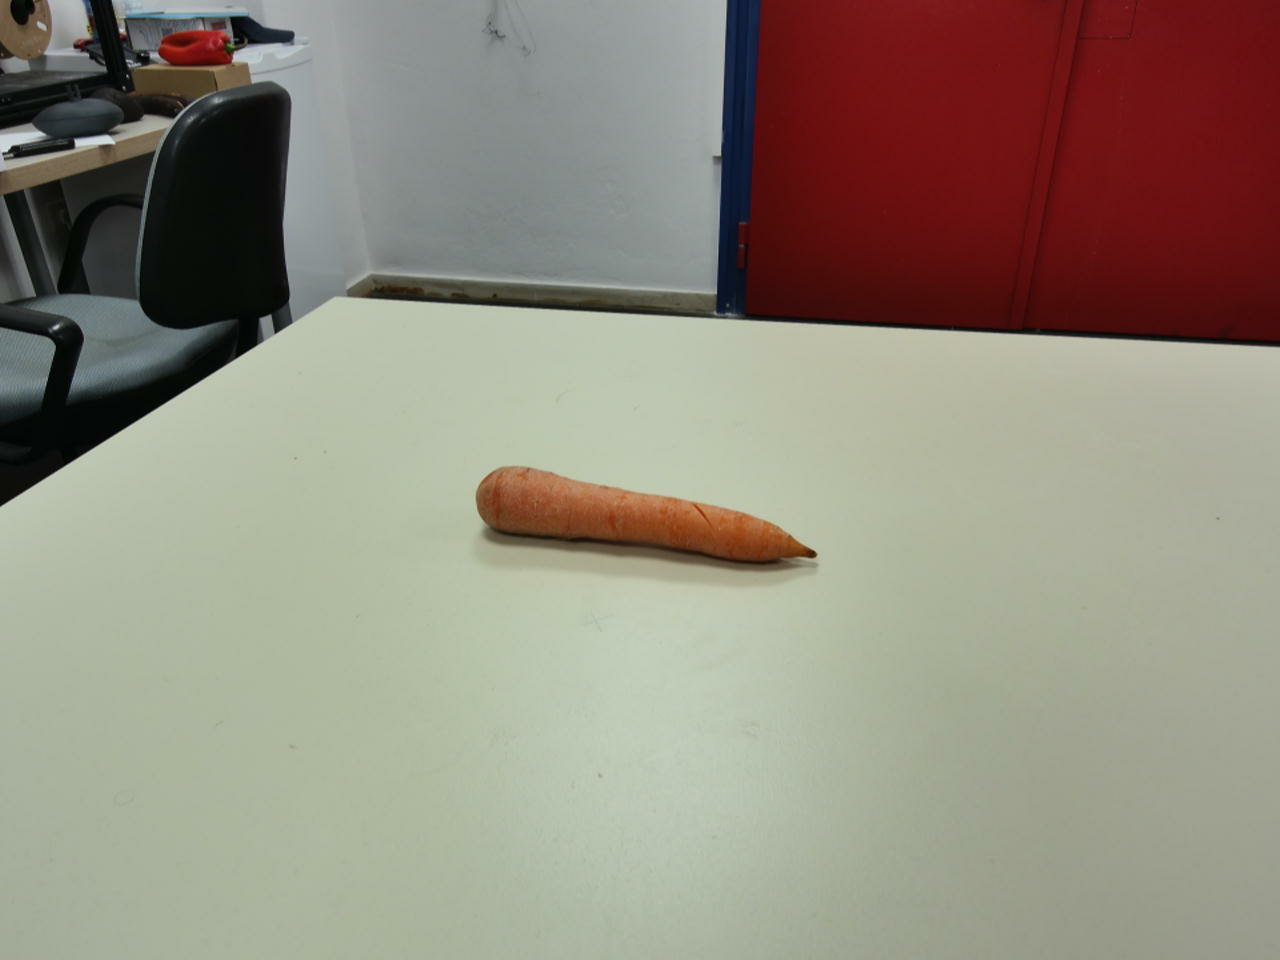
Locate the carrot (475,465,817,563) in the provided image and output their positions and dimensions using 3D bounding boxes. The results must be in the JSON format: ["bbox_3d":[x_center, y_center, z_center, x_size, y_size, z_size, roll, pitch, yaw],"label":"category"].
[{"bbox_3d":[0.001,0.019,0.564,0.196,0.041,0.039,5,26,11],"label":"carrot"}]
